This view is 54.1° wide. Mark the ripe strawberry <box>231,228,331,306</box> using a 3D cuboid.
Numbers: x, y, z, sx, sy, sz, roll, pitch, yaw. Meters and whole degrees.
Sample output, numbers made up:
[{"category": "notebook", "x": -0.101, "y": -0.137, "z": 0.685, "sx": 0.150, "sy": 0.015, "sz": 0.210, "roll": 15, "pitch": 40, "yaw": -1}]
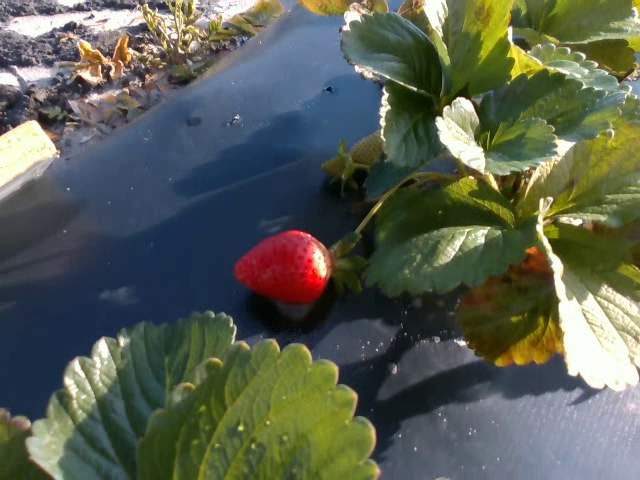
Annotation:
[{"category": "ripe strawberry", "x": -0.016, "y": 0.012, "z": 0.235, "sx": 0.044, "sy": 0.033, "sz": 0.030, "roll": -5, "pitch": 7, "yaw": -8}]
